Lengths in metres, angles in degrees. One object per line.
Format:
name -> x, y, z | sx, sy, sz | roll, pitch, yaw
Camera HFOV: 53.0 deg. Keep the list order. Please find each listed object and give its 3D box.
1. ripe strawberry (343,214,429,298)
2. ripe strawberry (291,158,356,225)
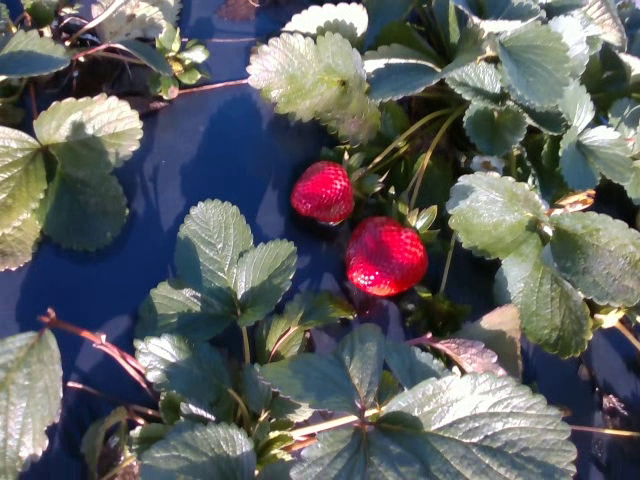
ripe strawberry -> 0.033, 0.013, 0.347 | 0.052, 0.046, 0.057 | 22, 40, 28
ripe strawberry -> -0.002, -0.027, 0.362 | 0.043, 0.037, 0.052 | 12, 37, 28
